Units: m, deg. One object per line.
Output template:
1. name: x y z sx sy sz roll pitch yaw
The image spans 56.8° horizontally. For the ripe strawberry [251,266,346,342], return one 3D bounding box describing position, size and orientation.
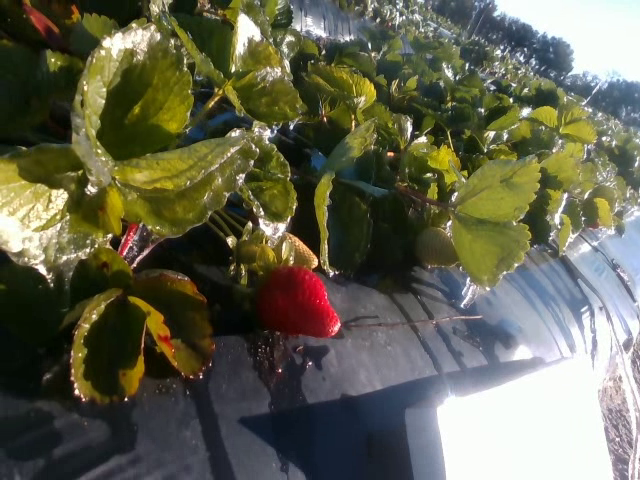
1. ripe strawberry: -0.004 0.029 0.232 0.039 0.040 0.039 -11 23 -42
